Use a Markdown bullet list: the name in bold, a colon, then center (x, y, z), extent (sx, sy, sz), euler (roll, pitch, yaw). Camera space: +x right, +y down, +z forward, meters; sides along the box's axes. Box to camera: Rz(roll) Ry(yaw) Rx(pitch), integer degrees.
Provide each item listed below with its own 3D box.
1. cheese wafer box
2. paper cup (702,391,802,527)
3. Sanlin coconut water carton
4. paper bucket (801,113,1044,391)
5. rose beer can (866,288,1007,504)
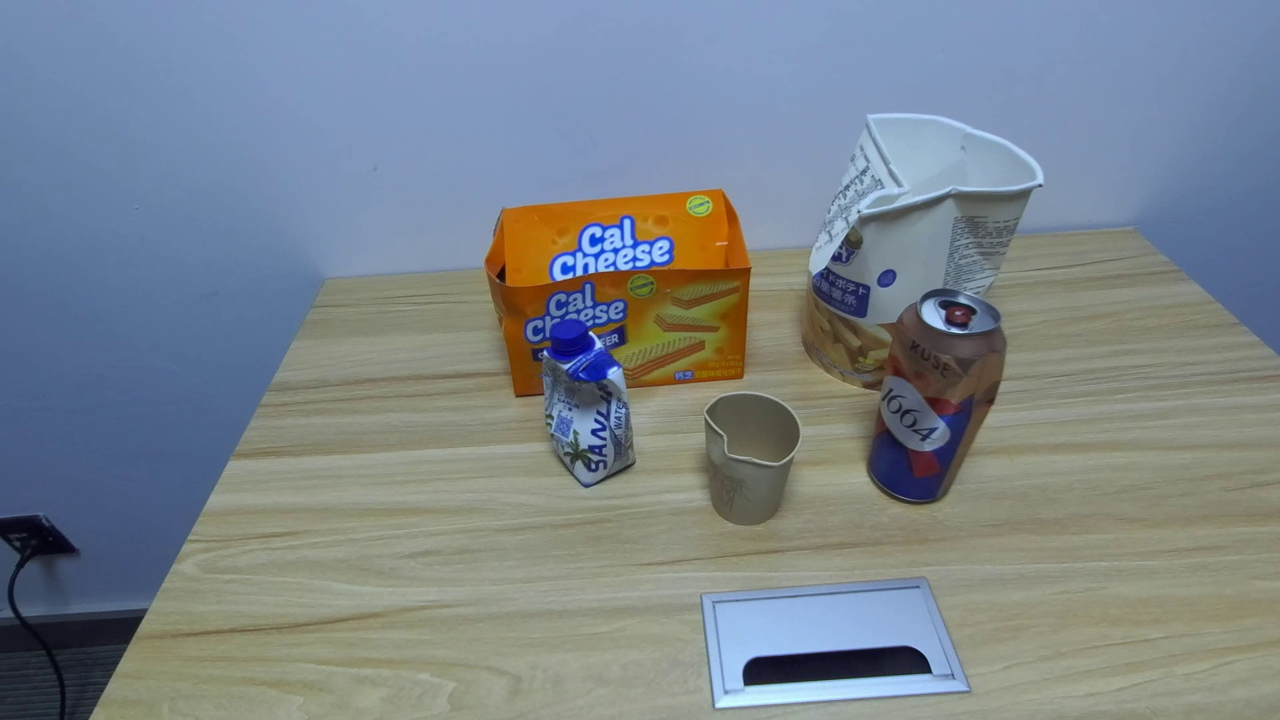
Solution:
- **cheese wafer box**: center (-0.020, -0.064, 0.679), extent (0.230, 0.132, 0.152), euler (-4, 42, -1)
- **paper cup**: center (0.082, 0.078, 0.536), extent (0.073, 0.081, 0.069), euler (8, 41, 12)
- **Sanlin coconut water carton**: center (-0.043, 0.038, 0.551), extent (0.057, 0.145, 0.068), euler (-30, 54, -18)
- **paper bucket**: center (0.230, -0.098, 0.648), extent (0.169, 0.202, 0.162), euler (-9, 39, -9)
- **rose beer can**: center (0.217, 0.031, 0.523), extent (0.065, 0.167, 0.075), euler (-8, 36, -10)
